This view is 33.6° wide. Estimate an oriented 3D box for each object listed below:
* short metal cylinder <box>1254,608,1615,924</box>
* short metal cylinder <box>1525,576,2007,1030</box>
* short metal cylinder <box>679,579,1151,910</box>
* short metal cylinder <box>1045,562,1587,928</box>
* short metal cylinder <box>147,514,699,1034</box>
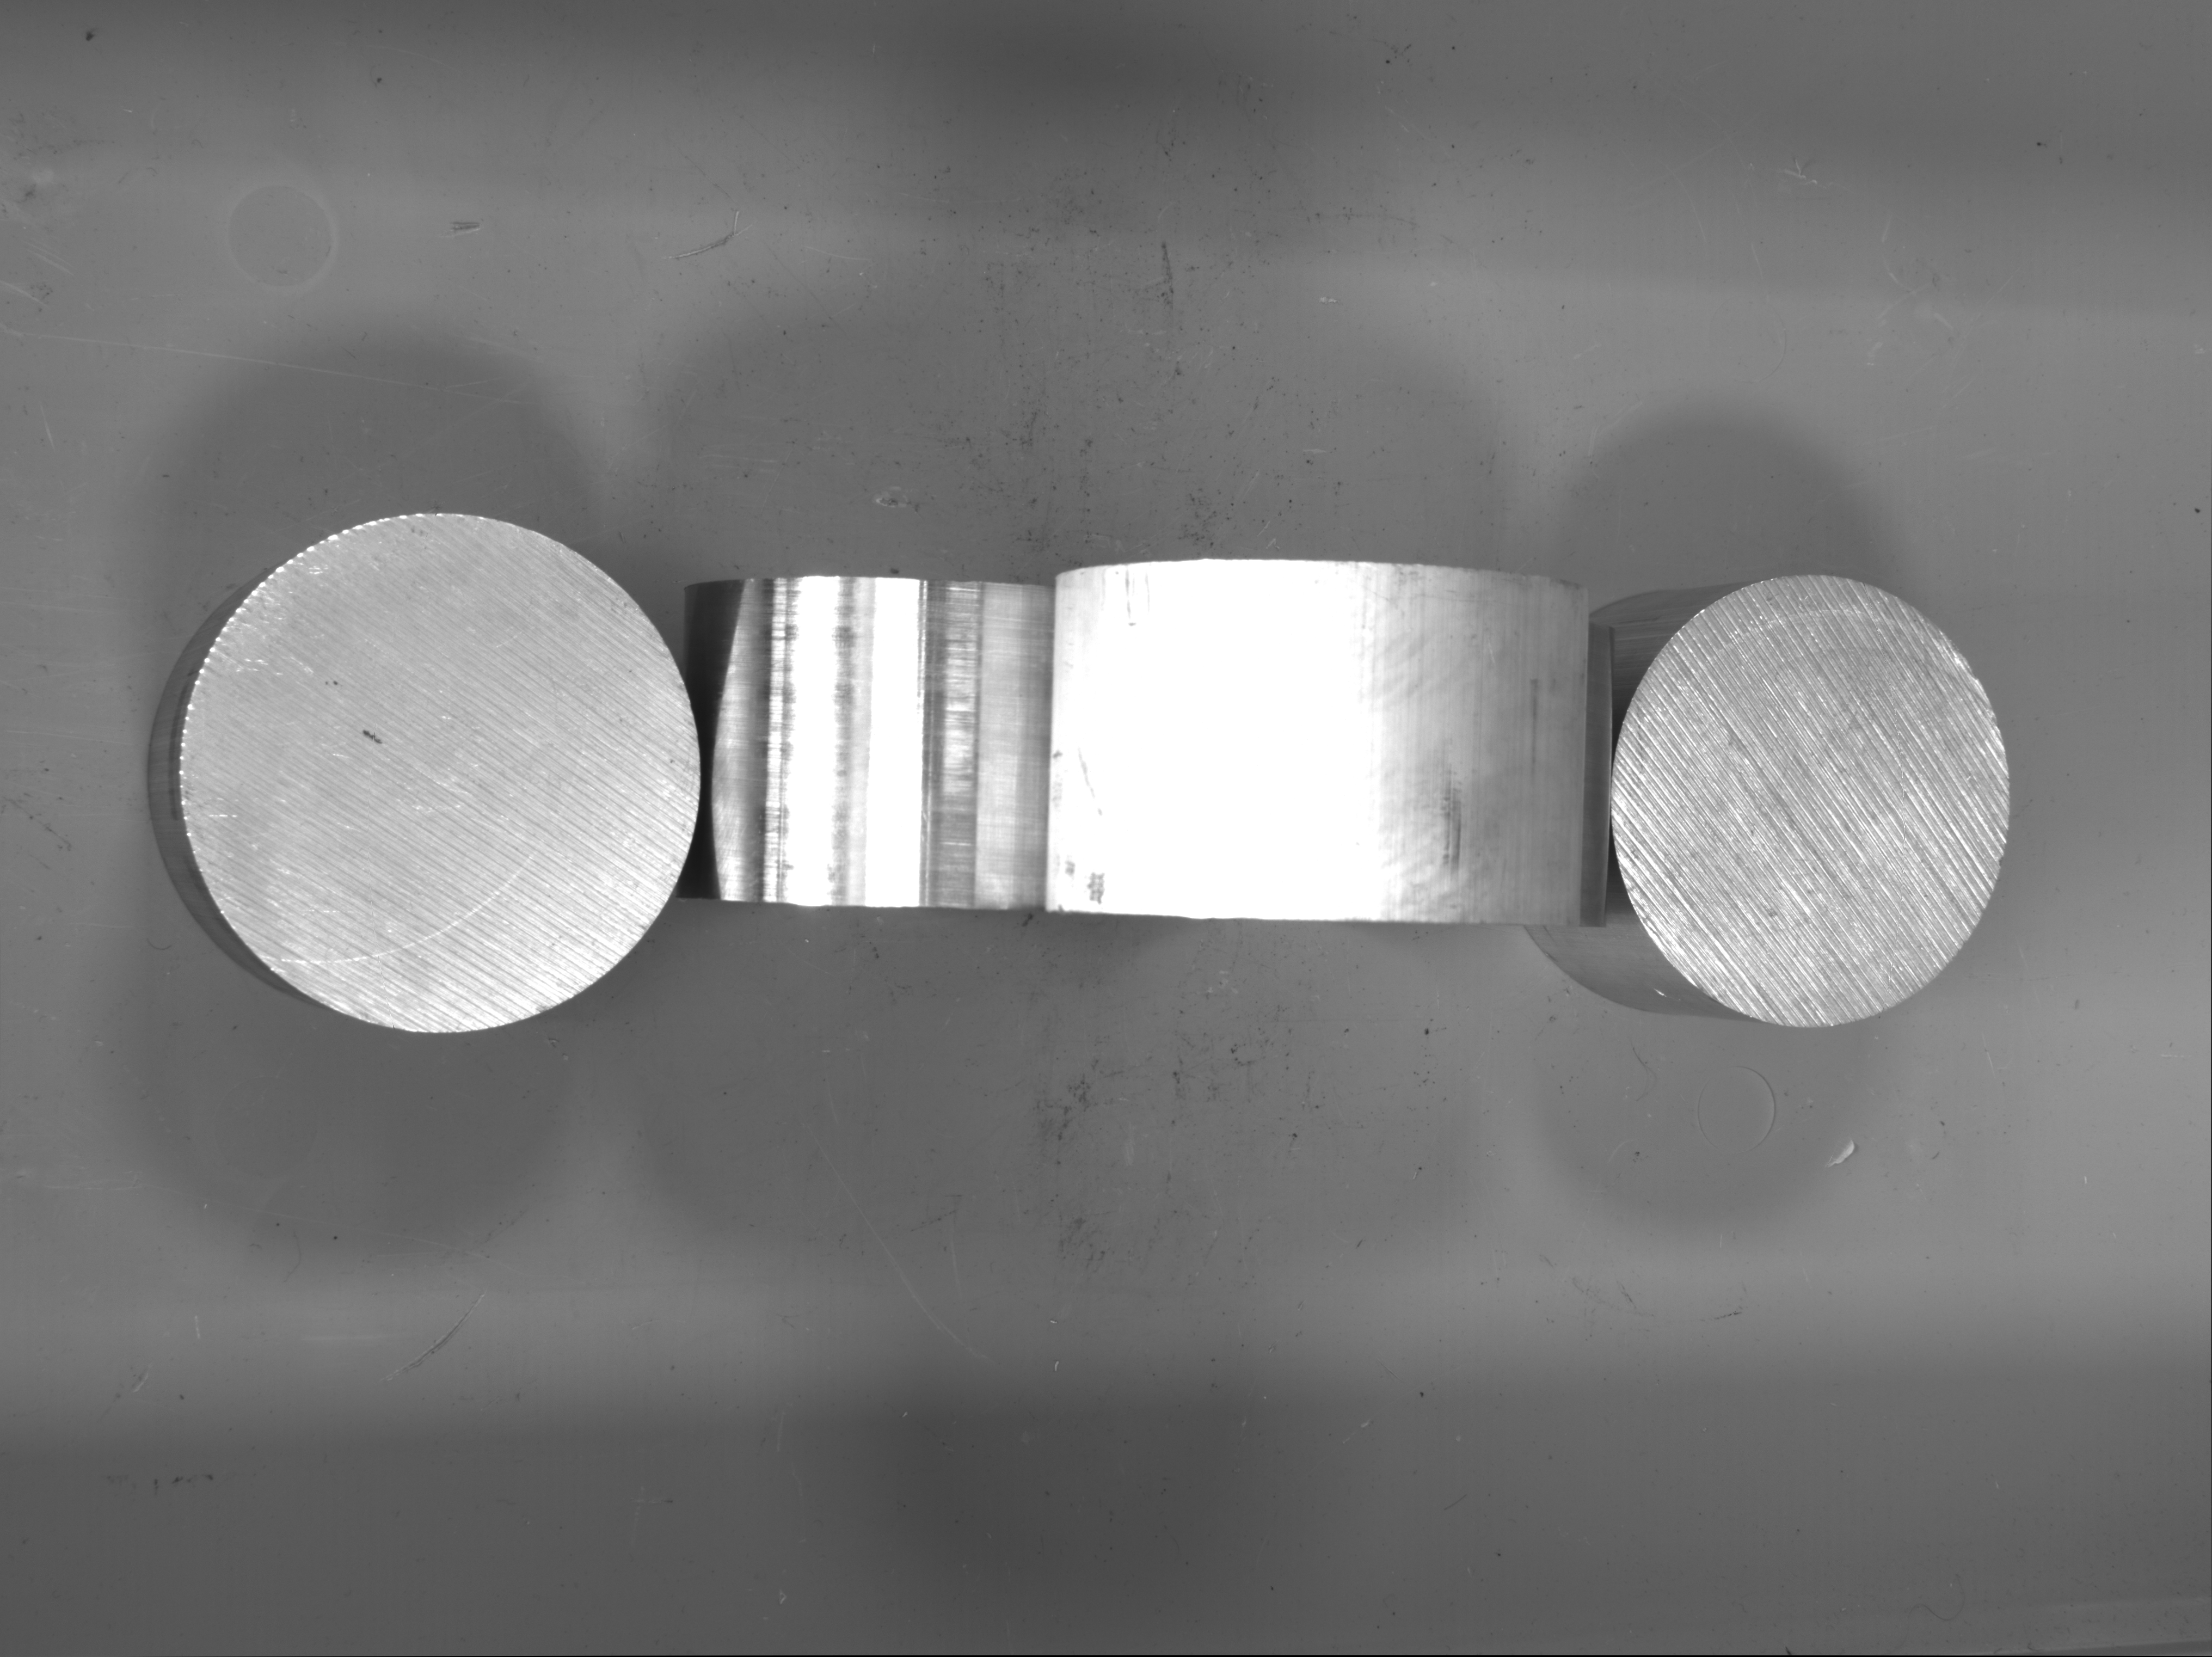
[{"bbox_3d":[0.046,-0.010,0.629,0.080,0.080,0.050,2,89,-20],"label":"short metal cylinder"},{"bbox_3d":[0.116,-0.005,0.670,0.080,0.050,0.080,0,90,-20],"label":"short metal cylinder"},{"bbox_3d":[-0.029,-0.012,0.601,0.080,0.080,0.050,2,89,-20],"label":"short metal cylinder"},{"bbox_3d":[0.031,-0.011,0.551,0.080,0.080,0.050,2,89,-20],"label":"short metal cylinder"},{"bbox_3d":[-0.110,-0.008,0.588,0.080,0.050,0.080,0,90,-20],"label":"short metal cylinder"}]
